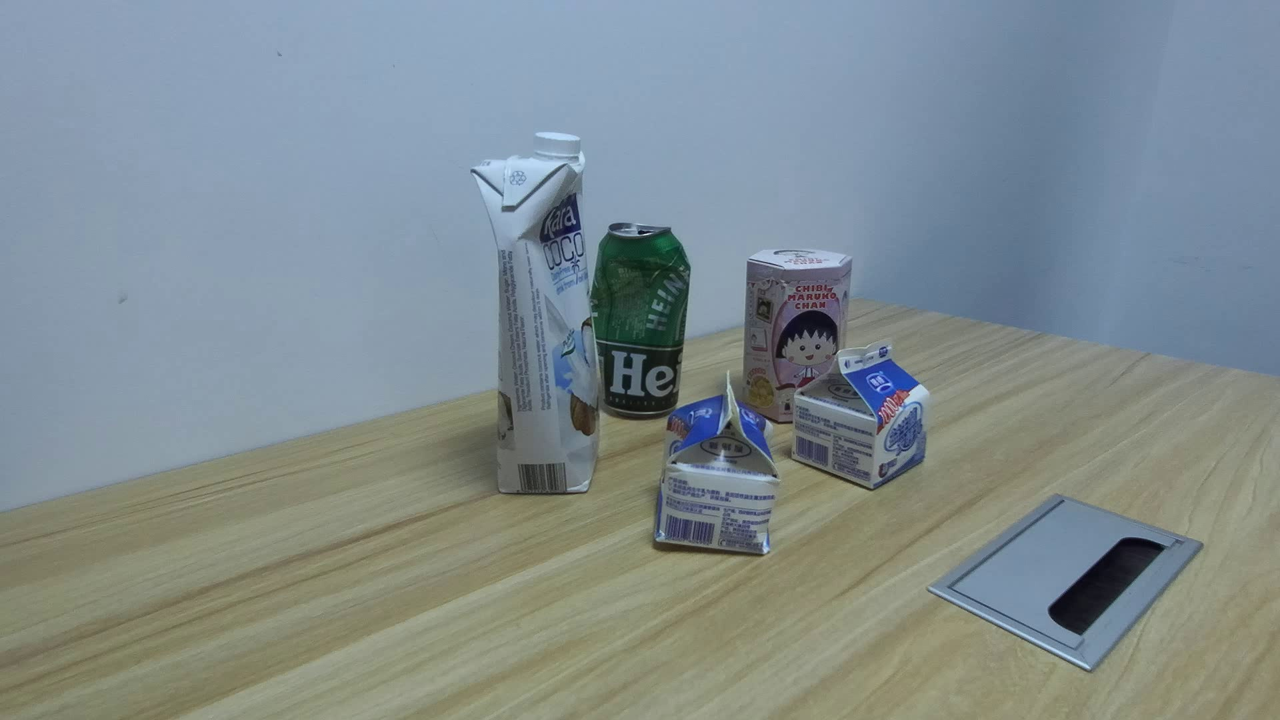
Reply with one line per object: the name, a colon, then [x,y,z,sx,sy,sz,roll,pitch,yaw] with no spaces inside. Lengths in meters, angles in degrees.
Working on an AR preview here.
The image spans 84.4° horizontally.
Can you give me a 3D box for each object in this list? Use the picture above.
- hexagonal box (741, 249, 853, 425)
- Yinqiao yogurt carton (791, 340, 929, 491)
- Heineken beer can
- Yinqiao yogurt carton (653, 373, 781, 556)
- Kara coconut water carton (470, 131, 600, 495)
hexagonal box: [0.135,-0.022,0.608,0.091,0.136,0.083,-3,17,-5]
Yinqiao yogurt carton: [0.163,0.032,0.516,0.076,0.092,0.073,-14,20,-40]
Heineken beer can: [-0.002,-0.033,0.611,0.066,0.164,0.077,-9,21,-24]
Yinqiao yogurt carton: [0.048,0.060,0.431,0.071,0.094,0.077,6,19,4]
Kara coconut water carton: [-0.066,-0.029,0.485,0.069,0.238,0.115,2,17,4]
